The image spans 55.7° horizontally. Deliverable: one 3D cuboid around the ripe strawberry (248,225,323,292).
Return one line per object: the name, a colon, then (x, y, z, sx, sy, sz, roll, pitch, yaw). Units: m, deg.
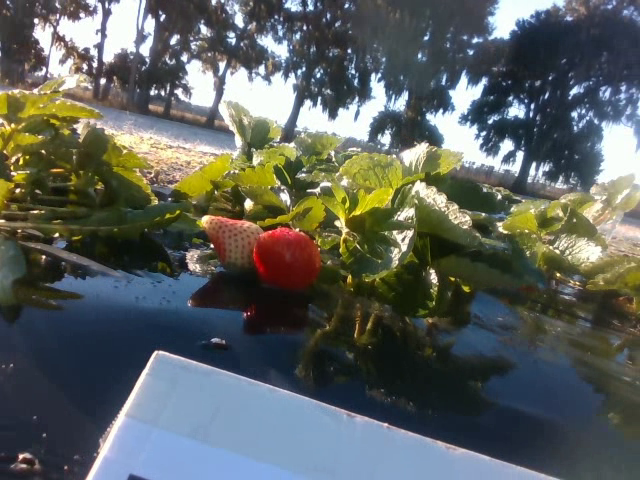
ripe strawberry: (-0.019, 0.003, 0.308, 0.040, 0.037, 0.055, -14, -41, 13)
